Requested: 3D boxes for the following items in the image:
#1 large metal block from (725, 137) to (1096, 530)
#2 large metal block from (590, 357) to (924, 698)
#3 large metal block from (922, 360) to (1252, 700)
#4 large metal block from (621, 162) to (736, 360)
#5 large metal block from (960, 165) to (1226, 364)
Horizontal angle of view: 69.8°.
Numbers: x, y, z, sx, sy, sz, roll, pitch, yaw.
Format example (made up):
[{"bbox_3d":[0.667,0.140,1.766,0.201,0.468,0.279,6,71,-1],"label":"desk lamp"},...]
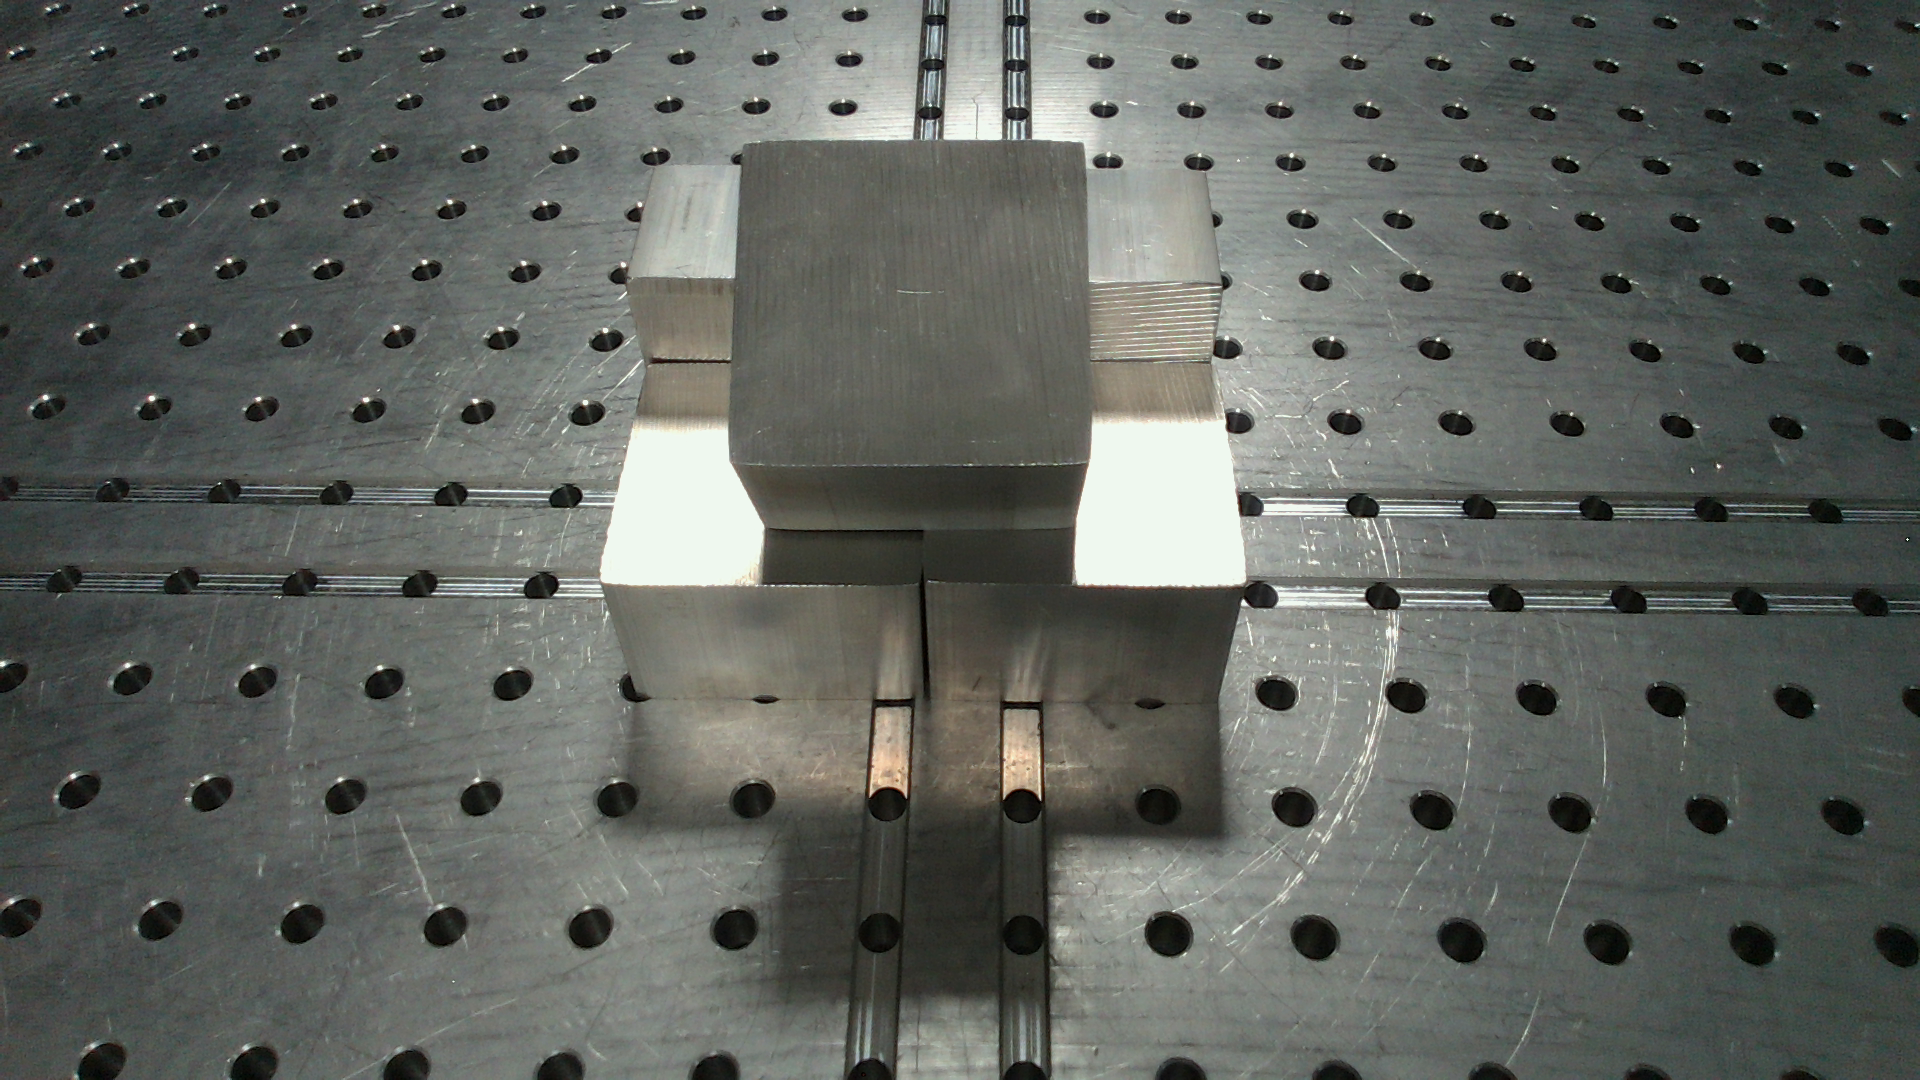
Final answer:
[{"bbox_3d":[-0.011,-0.048,0.332,0.080,0.050,0.080,0,74,0],"label":"large metal block"},{"bbox_3d":[-0.049,-0.004,0.380,0.080,0.050,0.080,1,50,1],"label":"large metal block"},{"bbox_3d":[0.032,-0.004,0.378,0.080,0.050,0.080,1,50,1],"label":"large metal block"},{"bbox_3d":[-0.049,-0.064,0.411,0.080,0.080,0.050,0,50,1],"label":"large metal block"},{"bbox_3d":[0.031,-0.063,0.411,0.080,0.080,0.050,0,50,1],"label":"large metal block"}]
